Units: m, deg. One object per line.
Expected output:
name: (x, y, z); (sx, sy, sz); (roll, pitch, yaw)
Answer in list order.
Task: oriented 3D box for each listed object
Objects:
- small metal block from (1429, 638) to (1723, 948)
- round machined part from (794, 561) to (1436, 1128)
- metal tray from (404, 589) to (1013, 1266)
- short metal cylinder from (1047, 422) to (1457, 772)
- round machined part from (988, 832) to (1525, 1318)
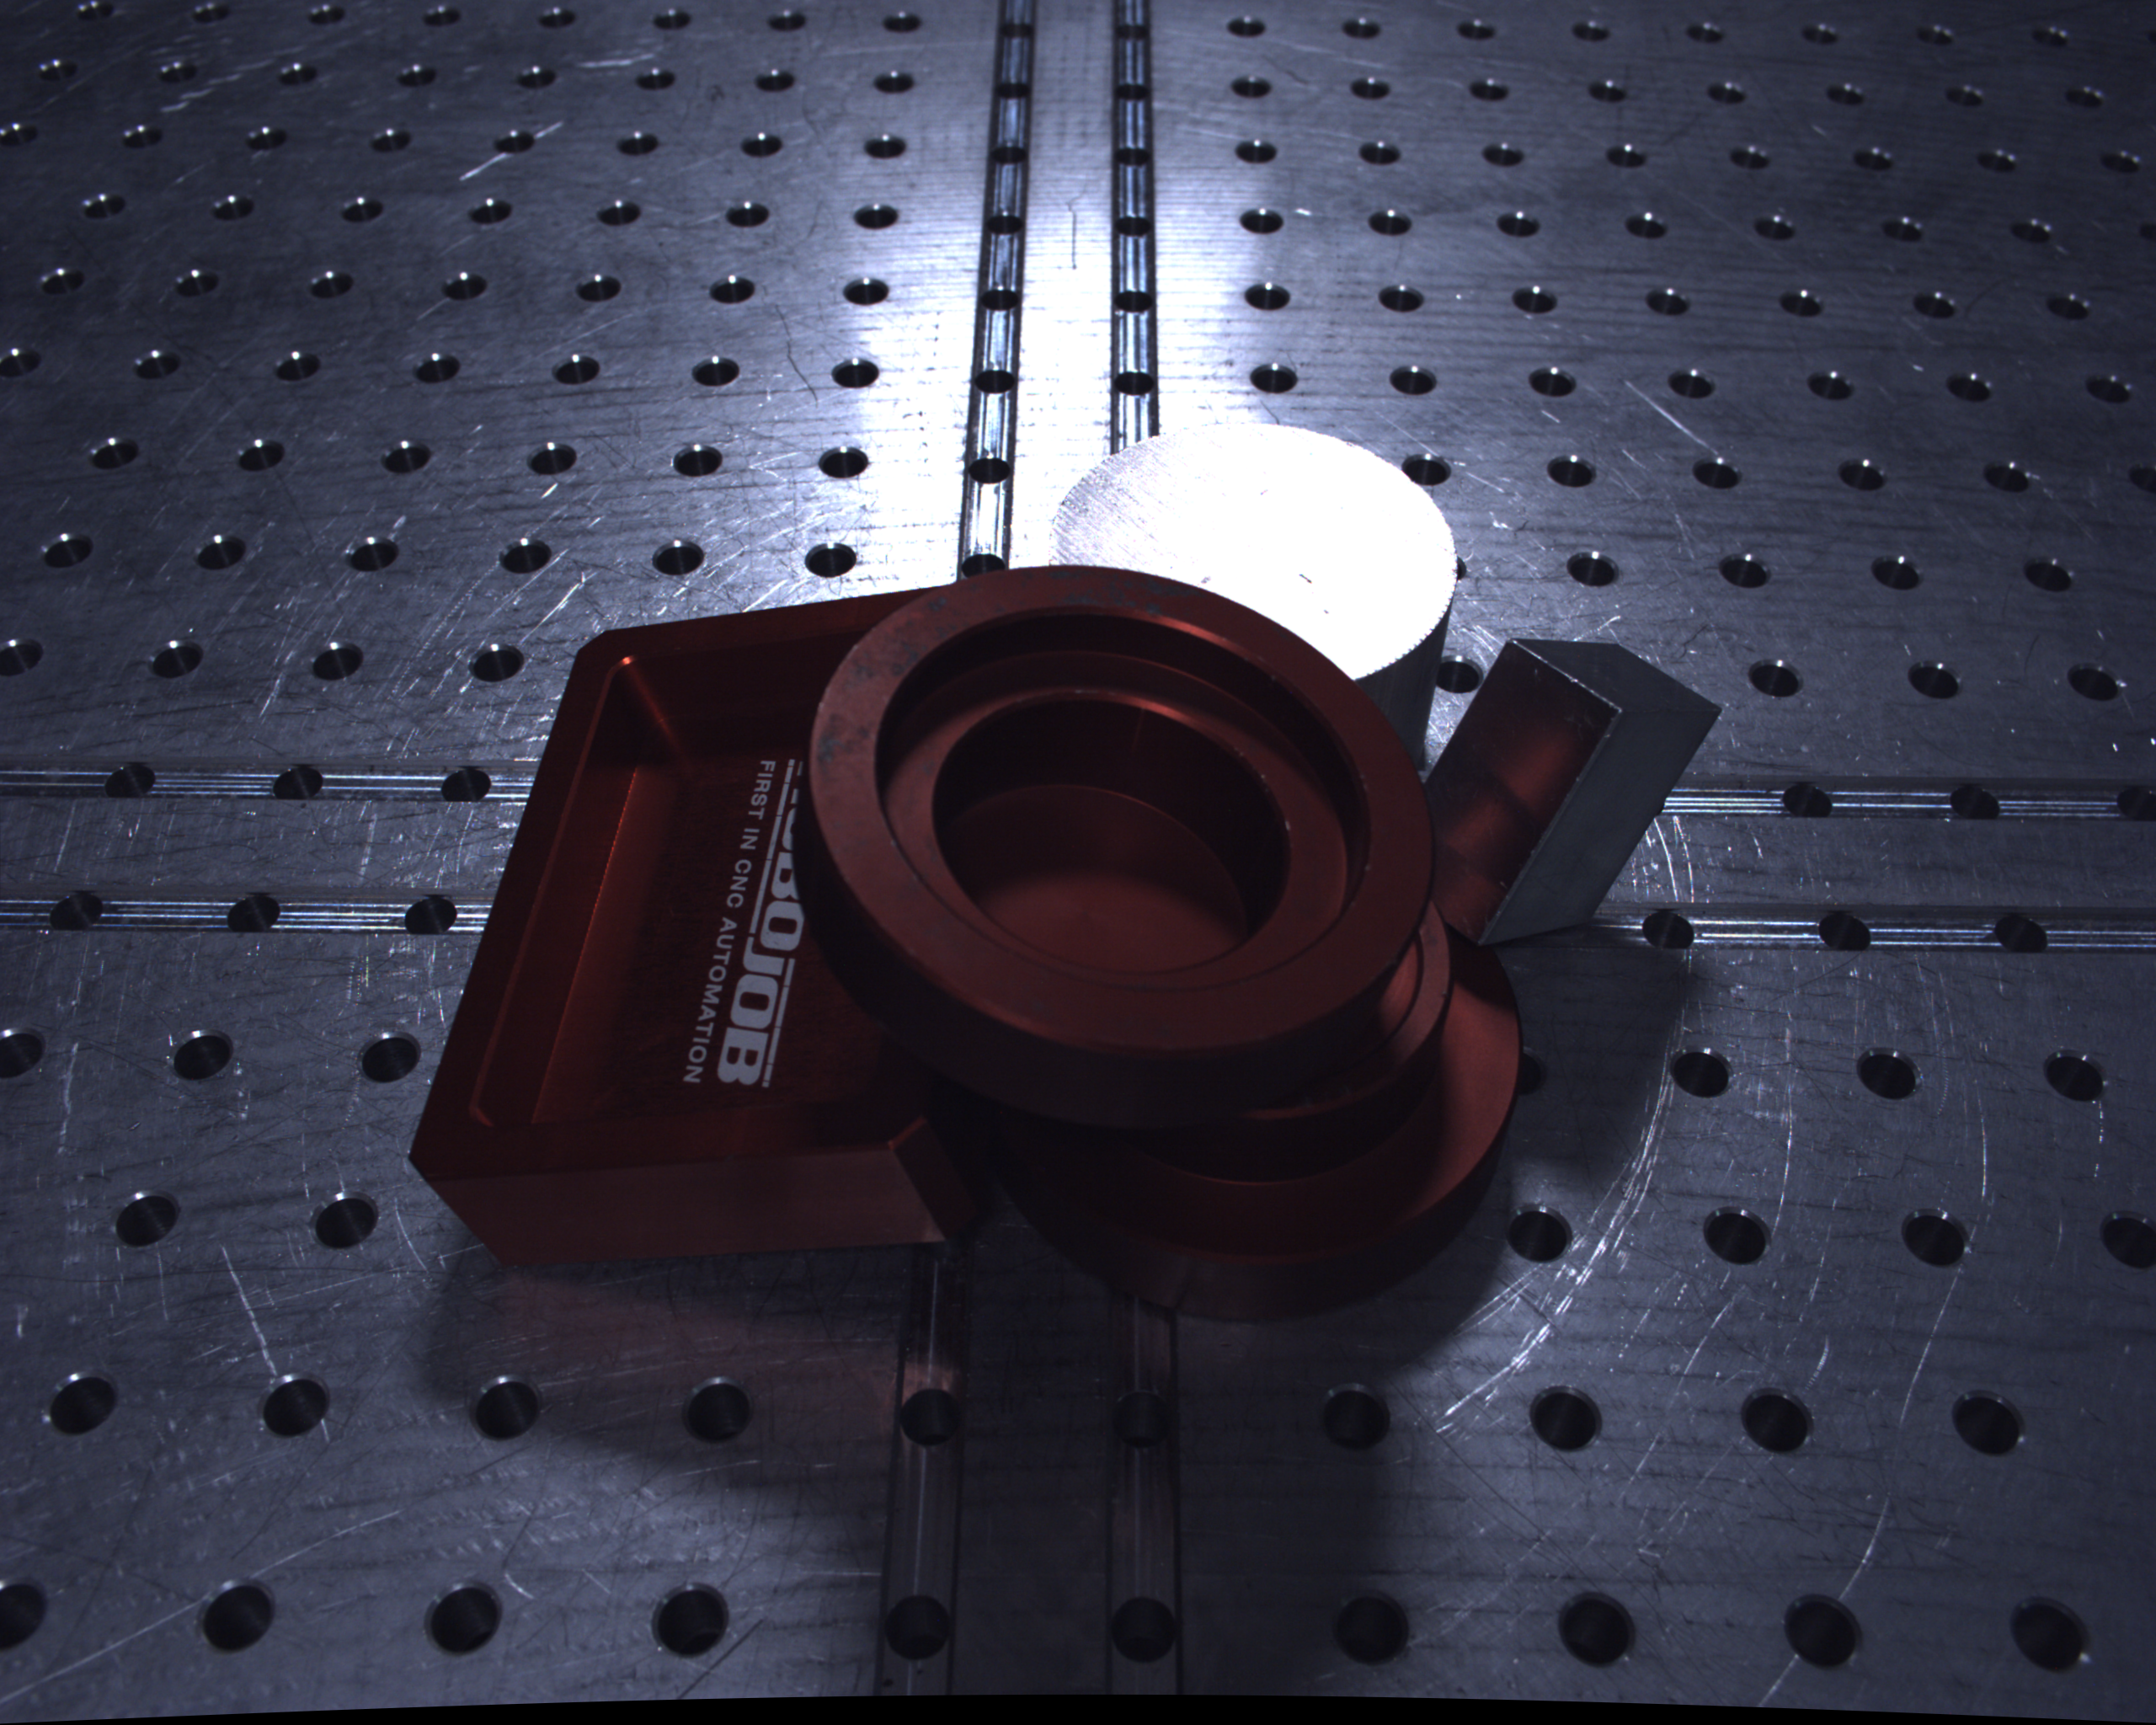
small metal block: (0.089, -0.014, 0.391); (0.025, 0.050, 0.050); (39, 25, 27)
round machined part: (0.004, 0.001, 0.334); (0.099, 0.042, 0.098); (7, 51, -8)
metal tray: (-0.059, 0.007, 0.383); (0.090, 0.030, 0.130); (-6, 49, 13)
short metal cylinder: (0.034, -0.046, 0.430); (0.081, 0.050, 0.080); (0, 50, 0)
round machined part: (0.030, 0.028, 0.372); (0.099, 0.042, 0.098); (0, 50, 0)
